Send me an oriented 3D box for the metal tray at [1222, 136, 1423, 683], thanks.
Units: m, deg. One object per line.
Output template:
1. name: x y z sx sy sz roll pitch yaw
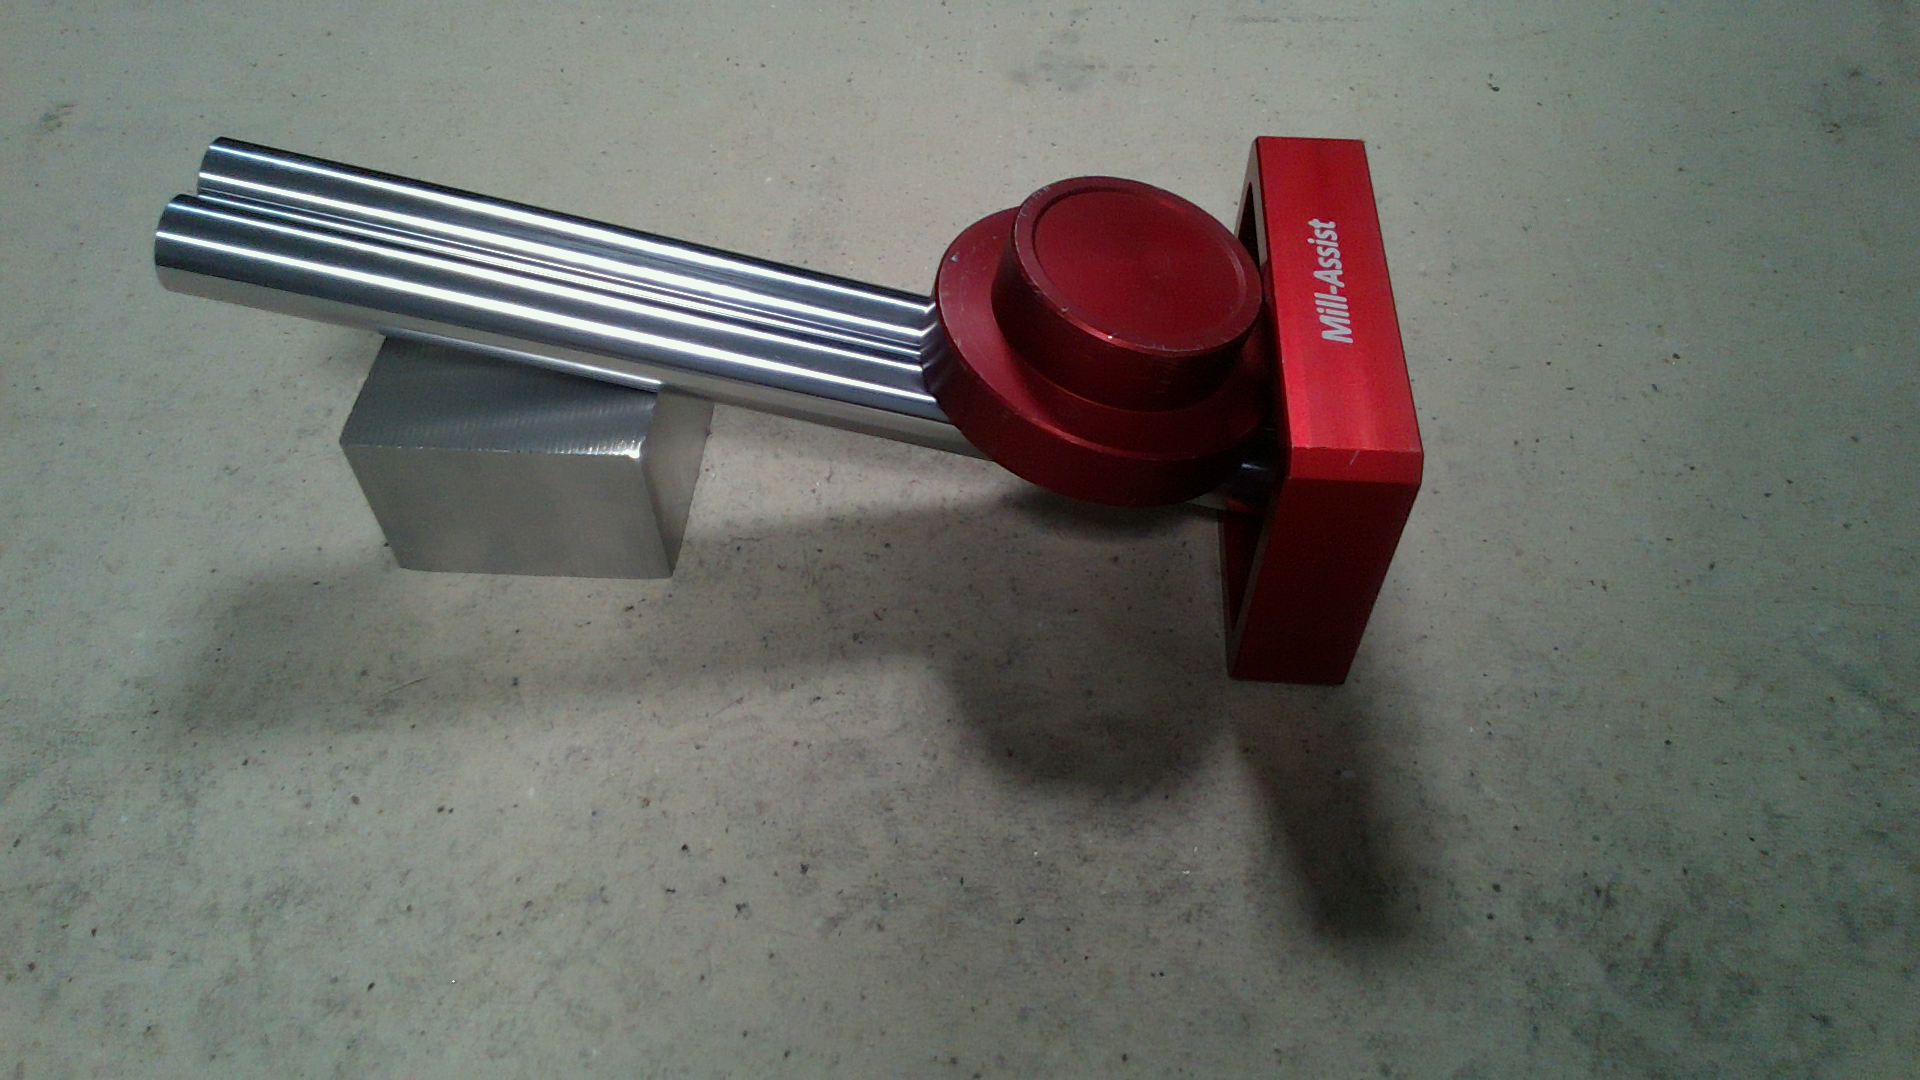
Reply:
1. metal tray: 0.093 -0.038 0.380 0.030 0.090 0.130 3 50 3

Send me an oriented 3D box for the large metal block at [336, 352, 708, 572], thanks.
1. large metal block: -0.121 -0.039 0.403 0.080 0.050 0.080 2 50 2

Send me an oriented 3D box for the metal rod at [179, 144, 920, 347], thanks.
1. metal rod: -0.057 -0.068 0.390 0.300 0.025 0.025 10 49 -8

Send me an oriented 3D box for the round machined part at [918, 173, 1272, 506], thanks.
1. round machined part: 0.040 -0.060 0.367 0.098 0.042 0.098 7 51 -8

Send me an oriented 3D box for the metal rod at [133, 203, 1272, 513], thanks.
1. metal rod: -0.059 -0.047 0.373 0.300 0.025 0.025 10 50 -8
